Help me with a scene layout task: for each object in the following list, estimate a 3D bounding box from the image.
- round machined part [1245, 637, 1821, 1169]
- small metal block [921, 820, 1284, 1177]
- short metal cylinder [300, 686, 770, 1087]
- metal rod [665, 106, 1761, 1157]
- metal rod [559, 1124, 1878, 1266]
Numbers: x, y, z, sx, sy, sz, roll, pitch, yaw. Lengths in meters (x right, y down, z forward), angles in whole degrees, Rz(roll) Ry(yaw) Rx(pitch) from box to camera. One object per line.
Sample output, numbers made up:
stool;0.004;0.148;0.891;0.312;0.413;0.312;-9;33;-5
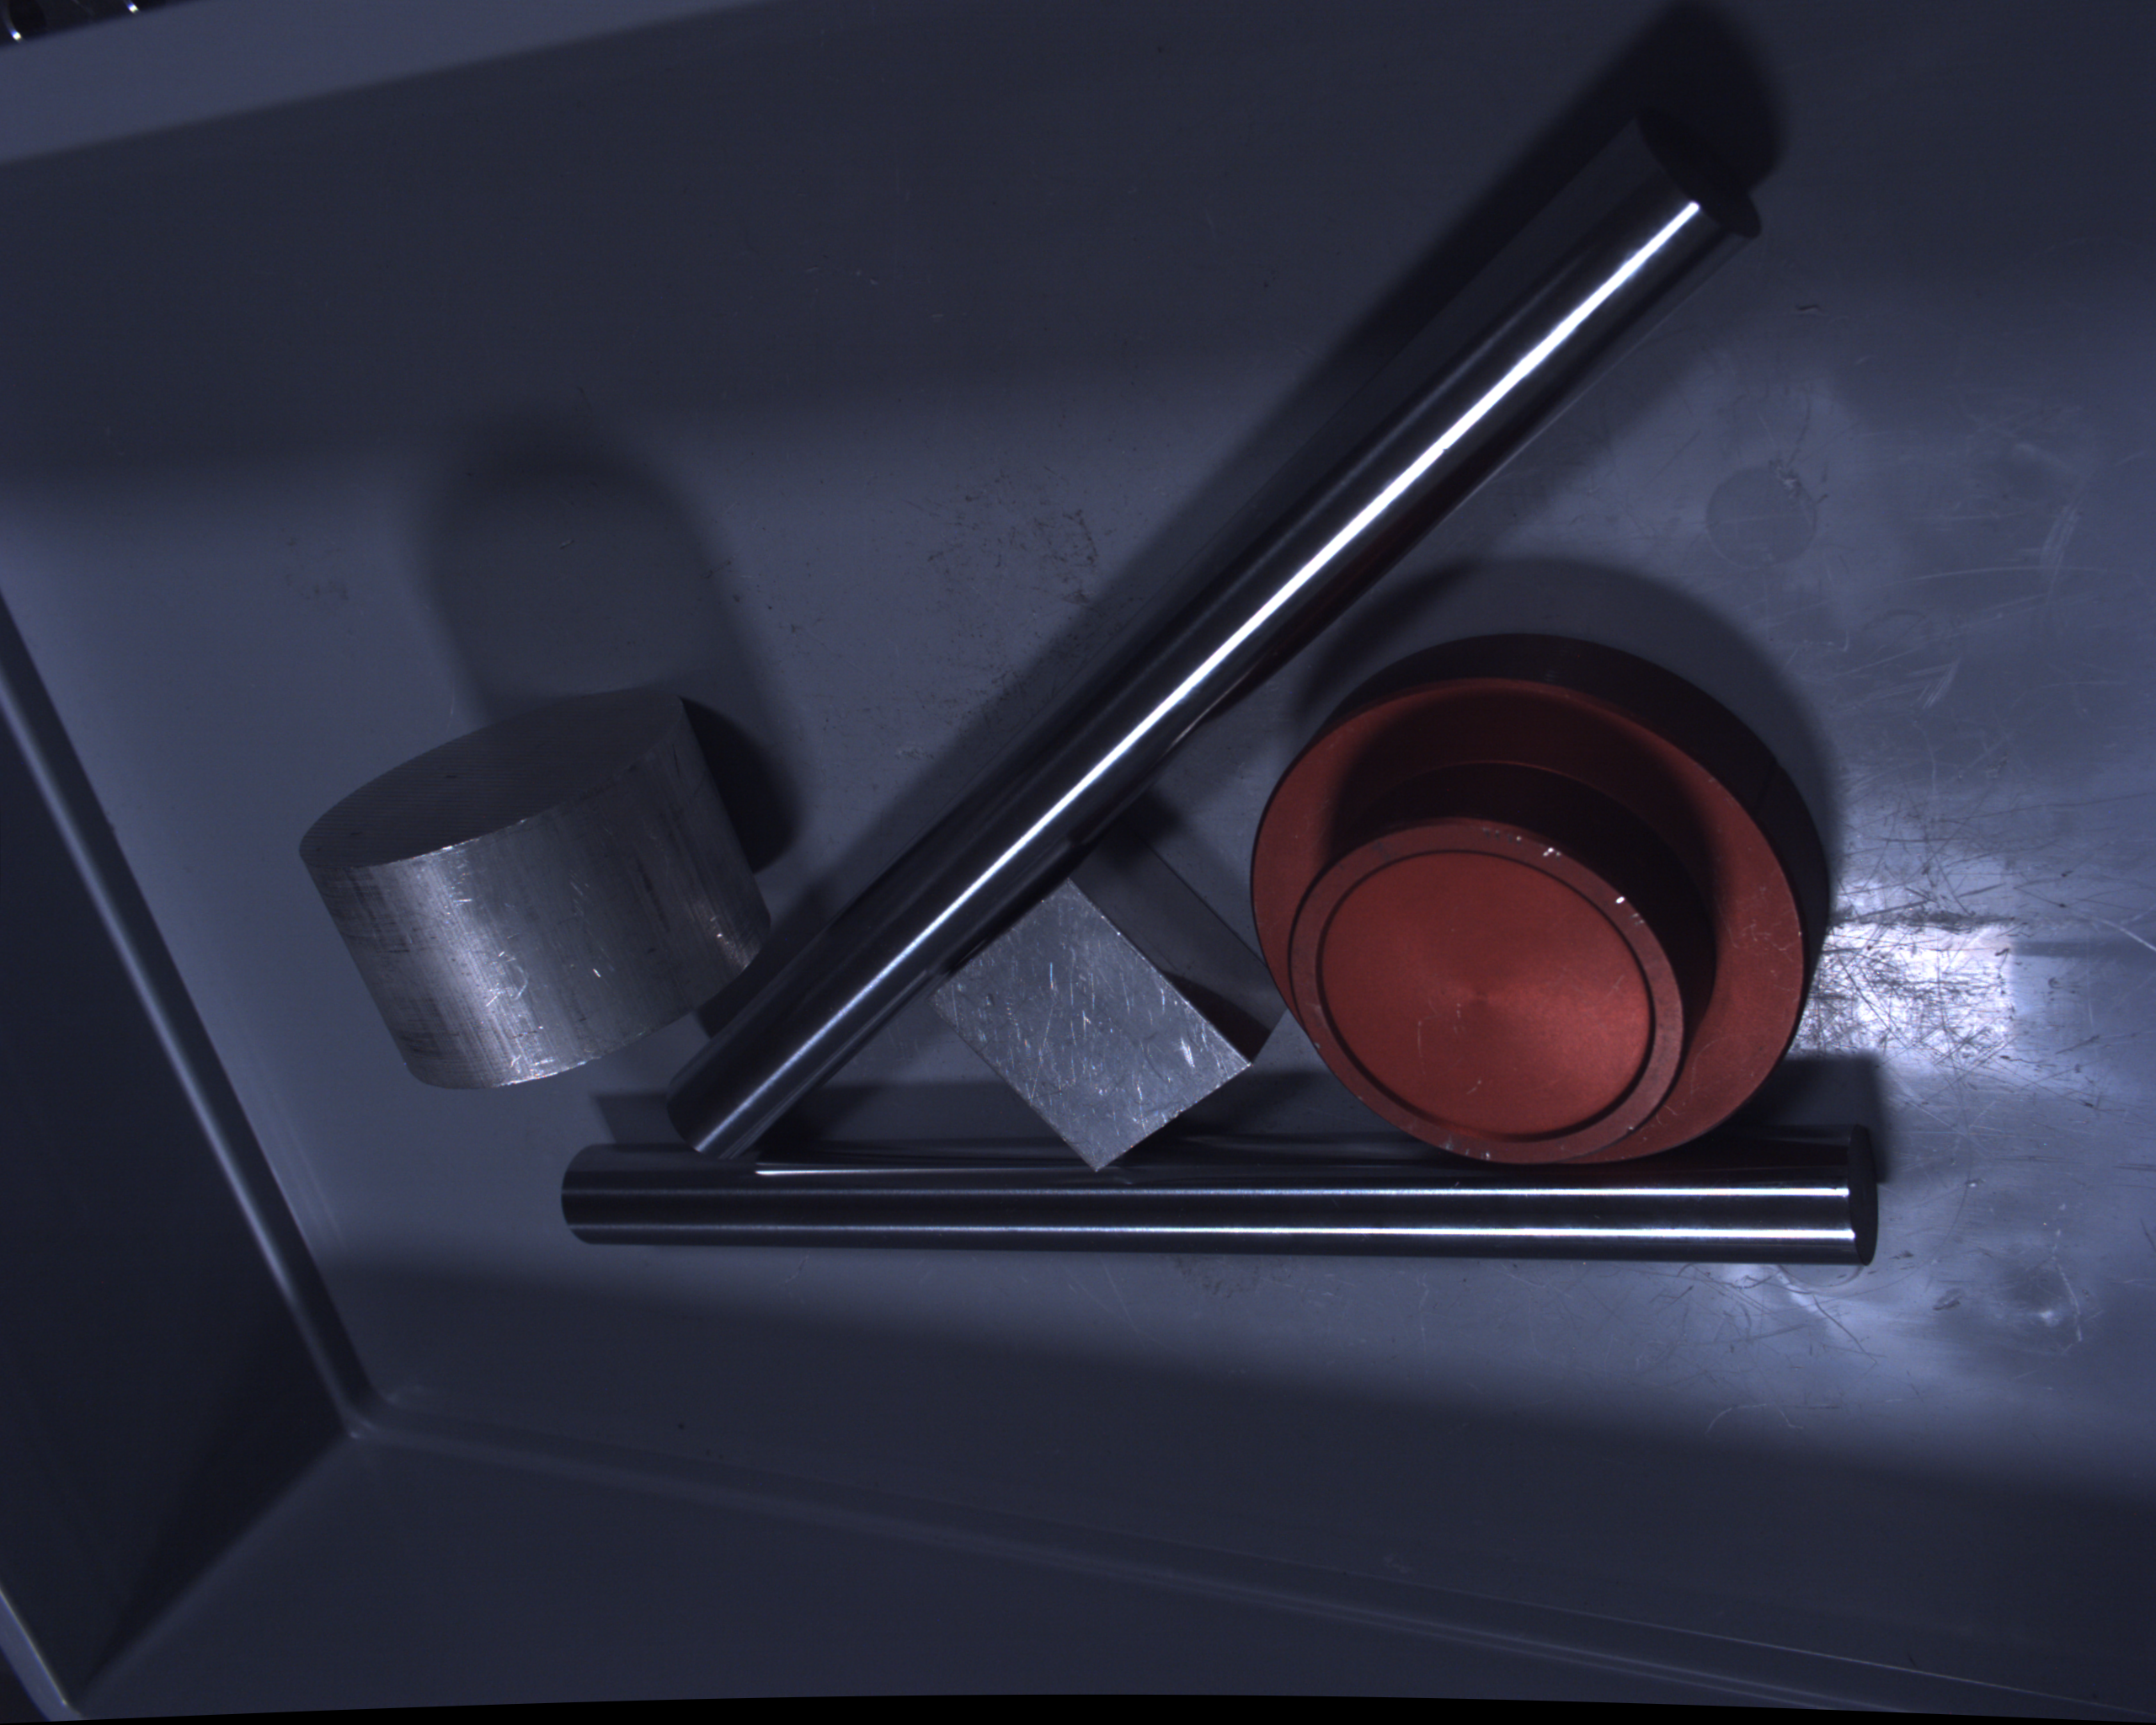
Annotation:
round machined part;0.075;0.014;0.362;0.098;0.042;0.097;13;124;20
small metal block;0.006;0.028;0.419;0.050;0.025;0.050;46;129;-4
short metal cylinder;-0.110;0.003;0.430;0.080;0.080;0.050;-5;116;30
metal rod;0.002;-0.021;0.391;0.025;0.025;0.299;45;129;-4
metal rod;0.010;0.071;0.444;0.300;0.025;0.025;-5;116;30
